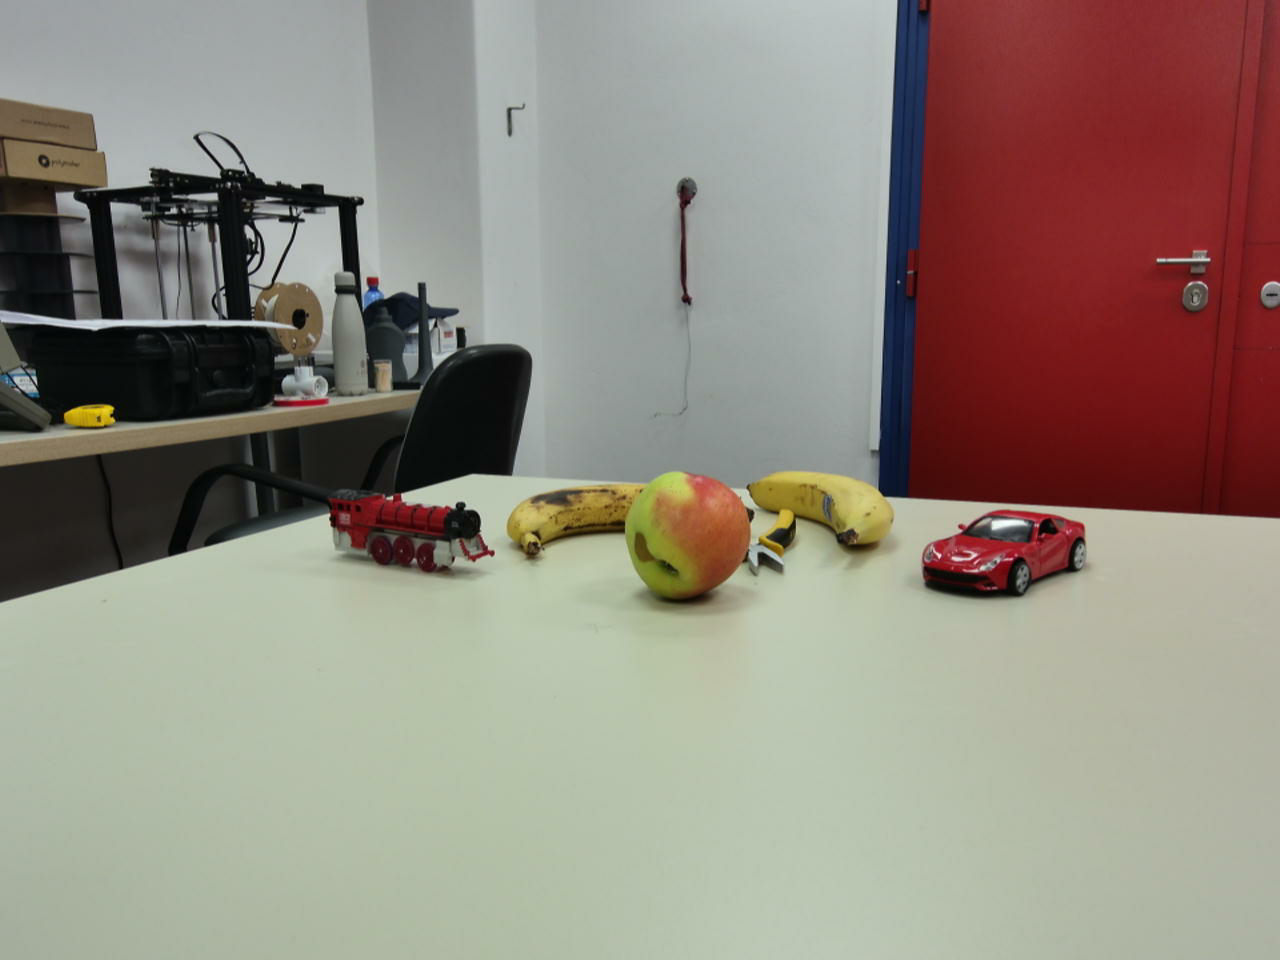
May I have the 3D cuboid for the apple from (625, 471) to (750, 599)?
[{"bbox_3d":[0.028,0.033,0.599,0.075,0.074,0.075,1,7,3],"label":"apple"}]
